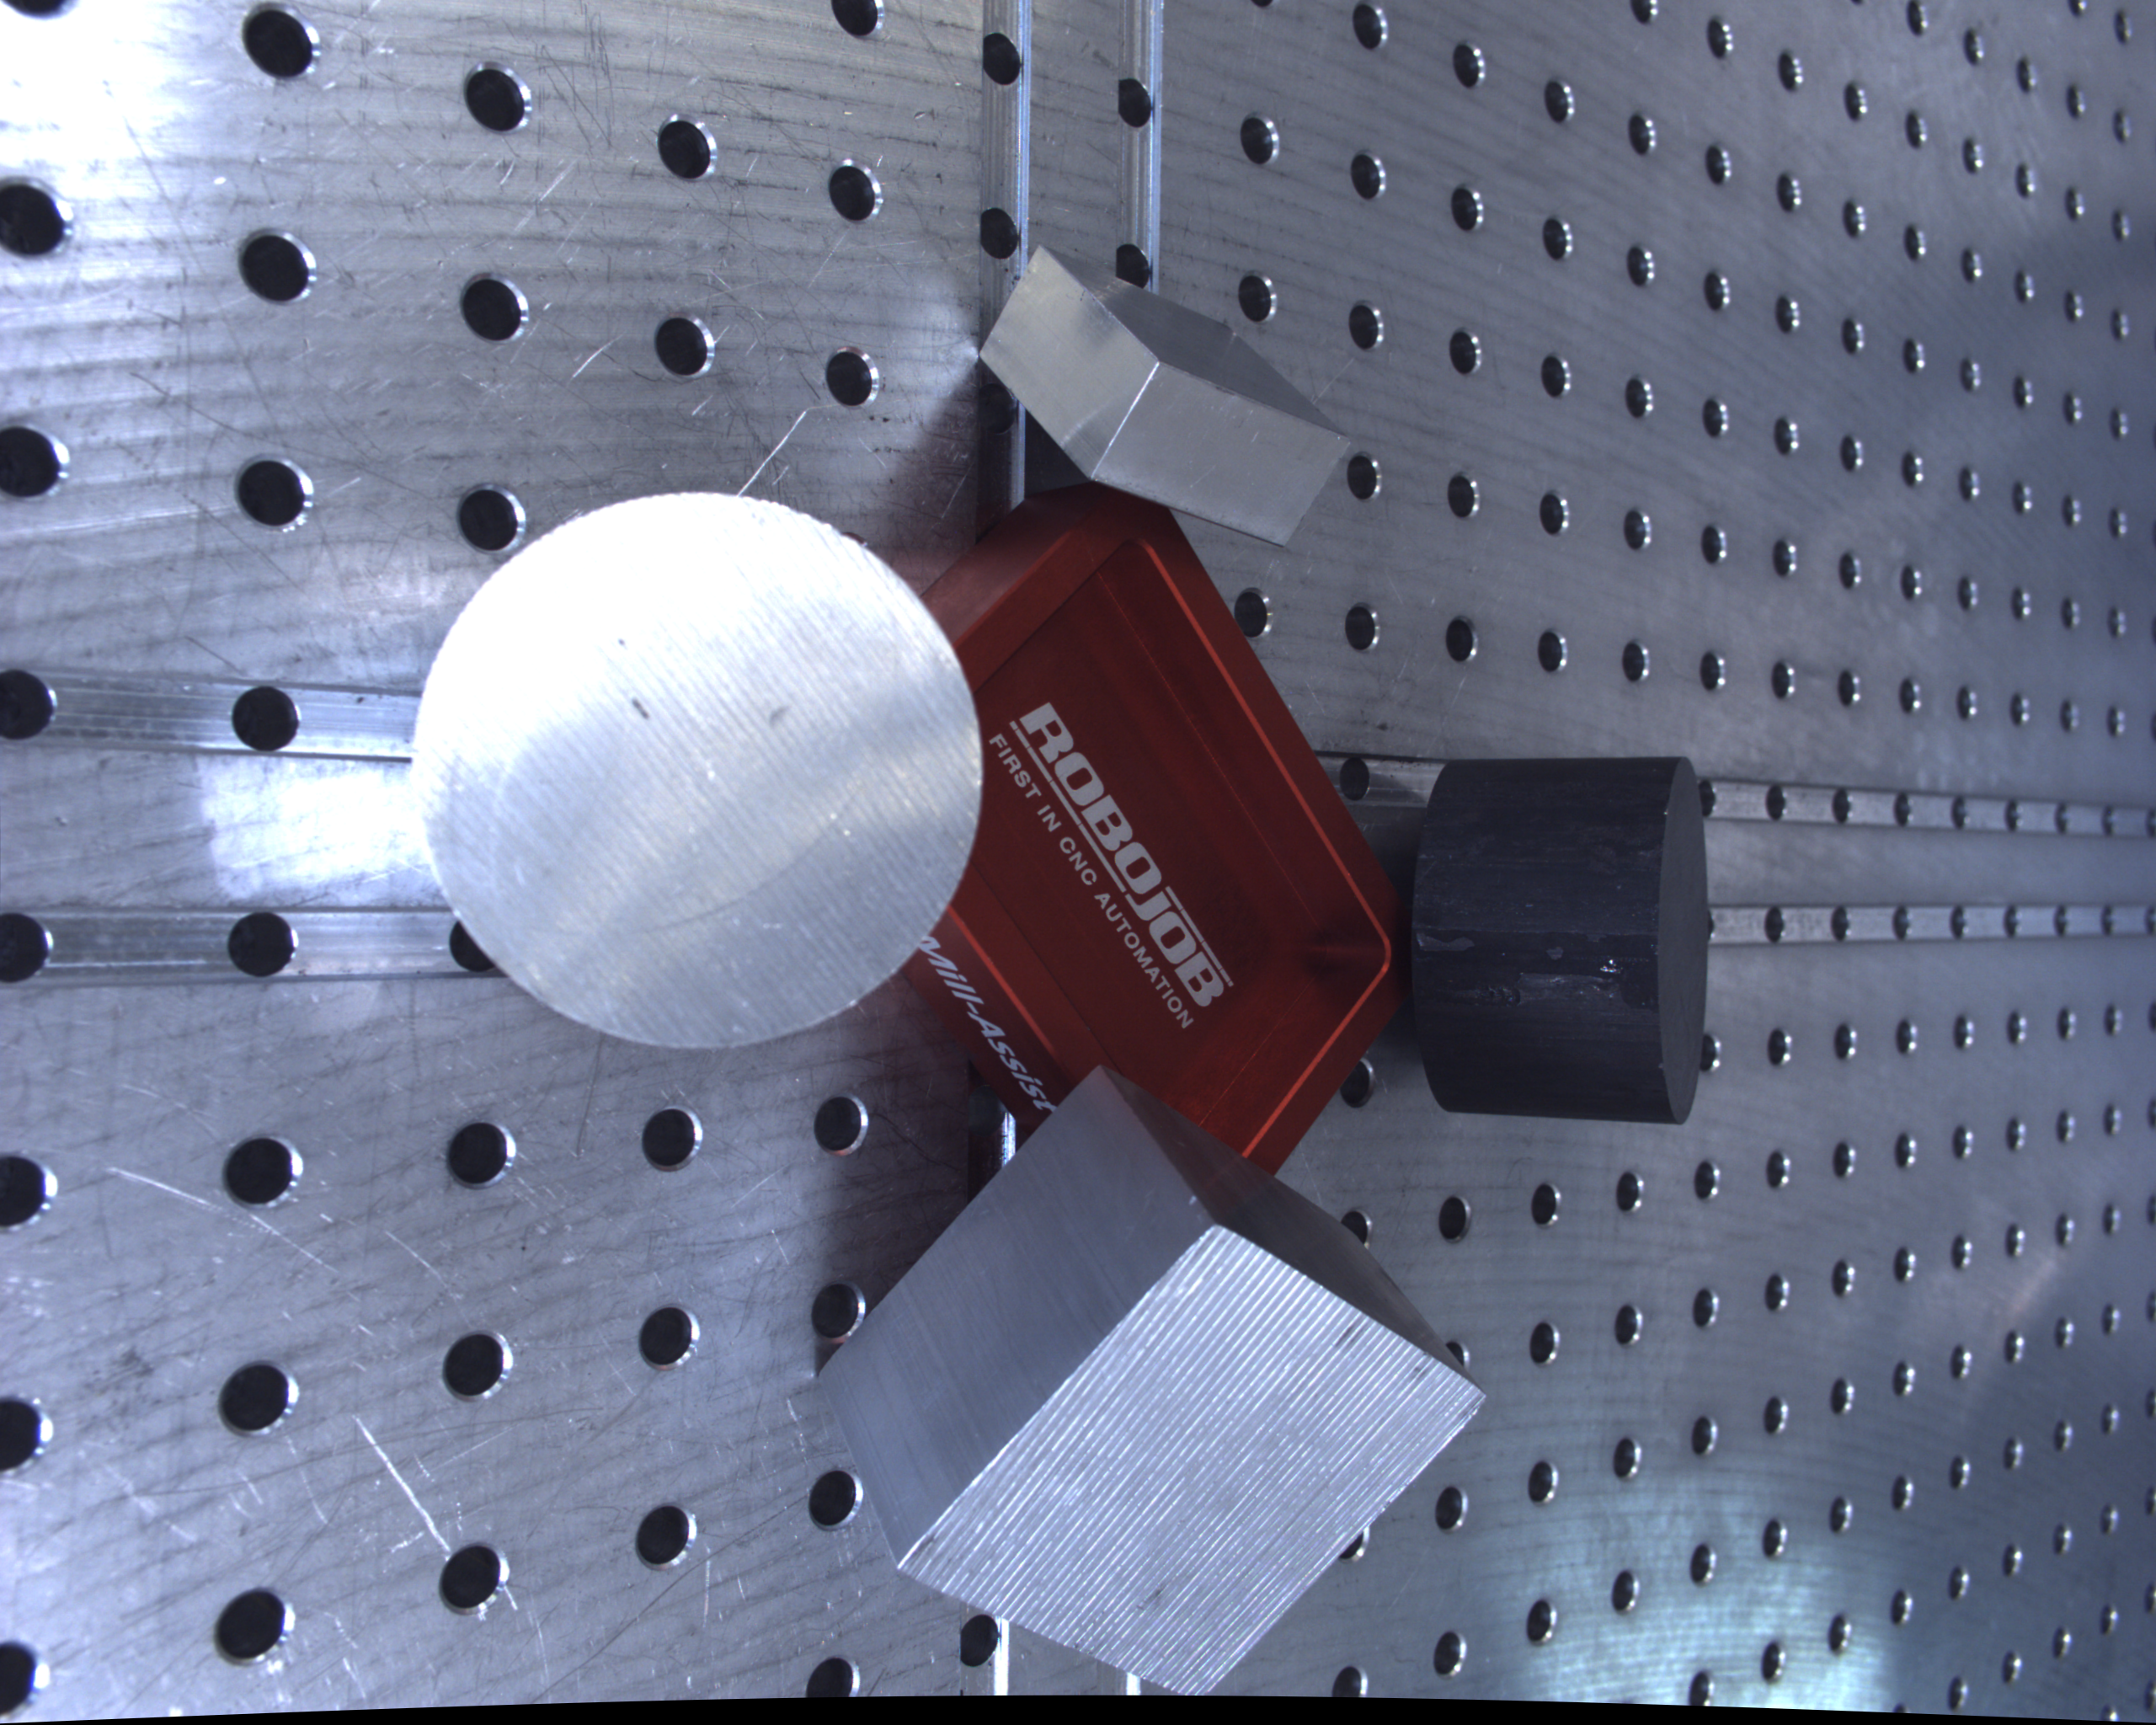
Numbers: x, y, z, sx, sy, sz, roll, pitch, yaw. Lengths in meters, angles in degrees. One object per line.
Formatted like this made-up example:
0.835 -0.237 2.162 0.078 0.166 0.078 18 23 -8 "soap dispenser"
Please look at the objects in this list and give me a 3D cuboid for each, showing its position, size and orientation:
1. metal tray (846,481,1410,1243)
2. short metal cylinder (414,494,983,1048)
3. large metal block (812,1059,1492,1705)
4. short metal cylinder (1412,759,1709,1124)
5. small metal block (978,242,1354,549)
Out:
0.010 0.001 0.413 0.090 0.030 0.130 -49 119 -29 "metal tray"
-0.059 -0.013 0.324 0.081 0.050 0.079 0 91 -15 "short metal cylinder"
0.013 0.096 0.382 0.080 0.050 0.080 -48 124 6 "large metal block"
0.109 0.017 0.464 0.080 0.050 0.079 0 90 -66 "short metal cylinder"
0.017 -0.090 0.403 0.050 0.050 0.025 11 121 -39 "small metal block"
